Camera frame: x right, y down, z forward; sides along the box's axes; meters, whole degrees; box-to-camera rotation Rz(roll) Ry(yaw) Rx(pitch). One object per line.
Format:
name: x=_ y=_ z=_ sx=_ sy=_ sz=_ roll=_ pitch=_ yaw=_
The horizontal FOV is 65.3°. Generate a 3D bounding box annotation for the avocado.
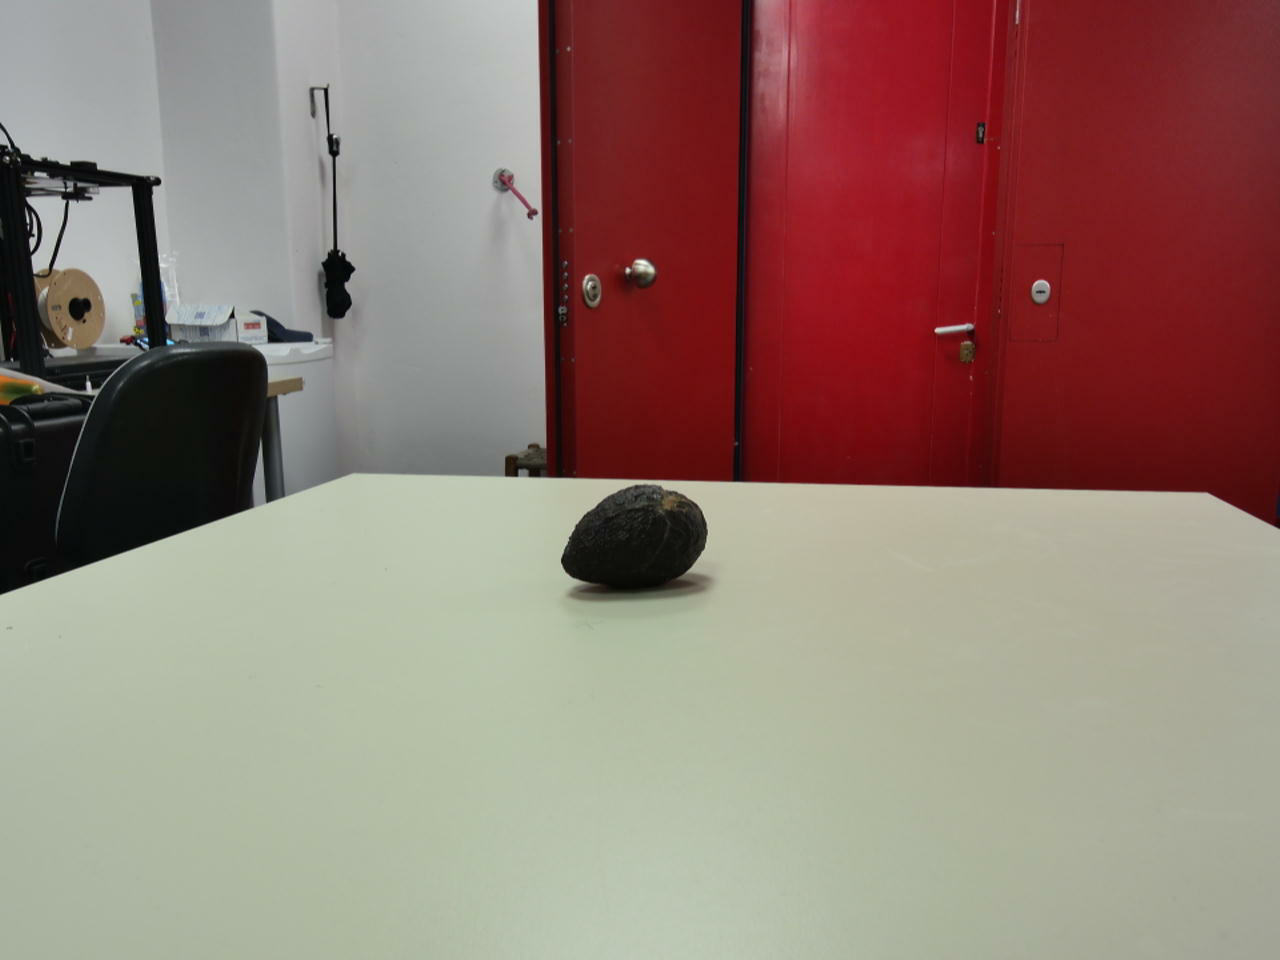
avocado: x=-0.004 y=0.034 z=0.614 sx=0.092 sy=0.062 sz=0.062 roll=-2 pitch=8 yaw=-12
